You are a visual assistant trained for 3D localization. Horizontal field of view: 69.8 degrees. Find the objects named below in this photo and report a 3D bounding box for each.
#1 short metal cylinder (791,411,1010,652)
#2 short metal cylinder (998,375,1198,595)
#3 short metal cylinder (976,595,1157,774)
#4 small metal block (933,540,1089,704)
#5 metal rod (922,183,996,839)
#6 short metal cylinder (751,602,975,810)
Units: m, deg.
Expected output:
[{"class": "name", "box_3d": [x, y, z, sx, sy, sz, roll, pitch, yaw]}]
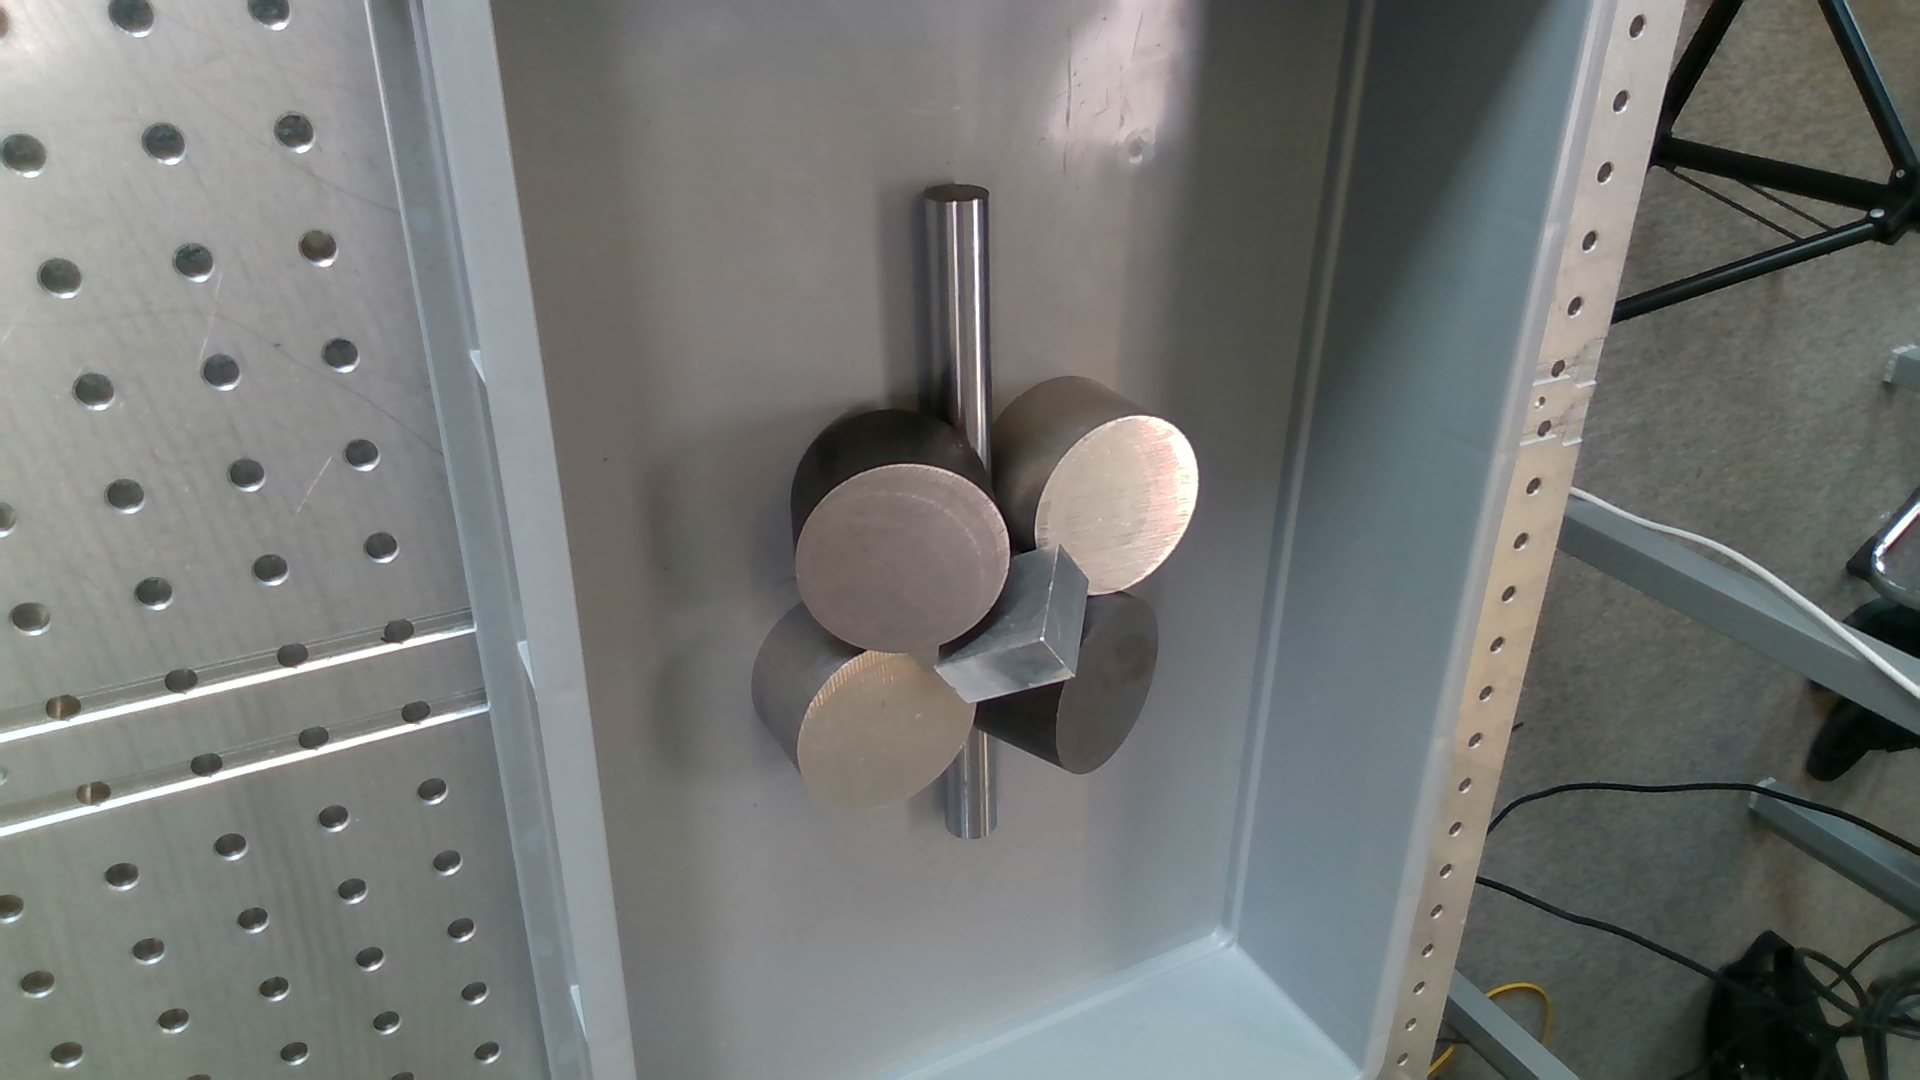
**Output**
[{"class": "short metal cylinder", "box_3d": [-0.025, -0.004, 0.531, 0.080, 0.050, 0.080, -4, 119, -7]}, {"class": "short metal cylinder", "box_3d": [0.053, -0.024, 0.583, 0.080, 0.050, 0.080, -14, 122, -25]}, {"class": "short metal cylinder", "box_3d": [0.044, 0.056, 0.604, 0.080, 0.050, 0.080, -30, 130, -44]}, {"class": "small metal block", "box_3d": [0.021, 0.033, 0.549, 0.050, 0.050, 0.025, -18, 130, 30]}, {"class": "metal rod", "box_3d": [0.002, 0.003, 0.582, 0.025, 0.025, 0.301, -16, 122, -24]}, {"class": "short metal cylinder", "box_3d": [-0.041, 0.065, 0.574, 0.080, 0.050, 0.080, -14, 122, -25]}]
